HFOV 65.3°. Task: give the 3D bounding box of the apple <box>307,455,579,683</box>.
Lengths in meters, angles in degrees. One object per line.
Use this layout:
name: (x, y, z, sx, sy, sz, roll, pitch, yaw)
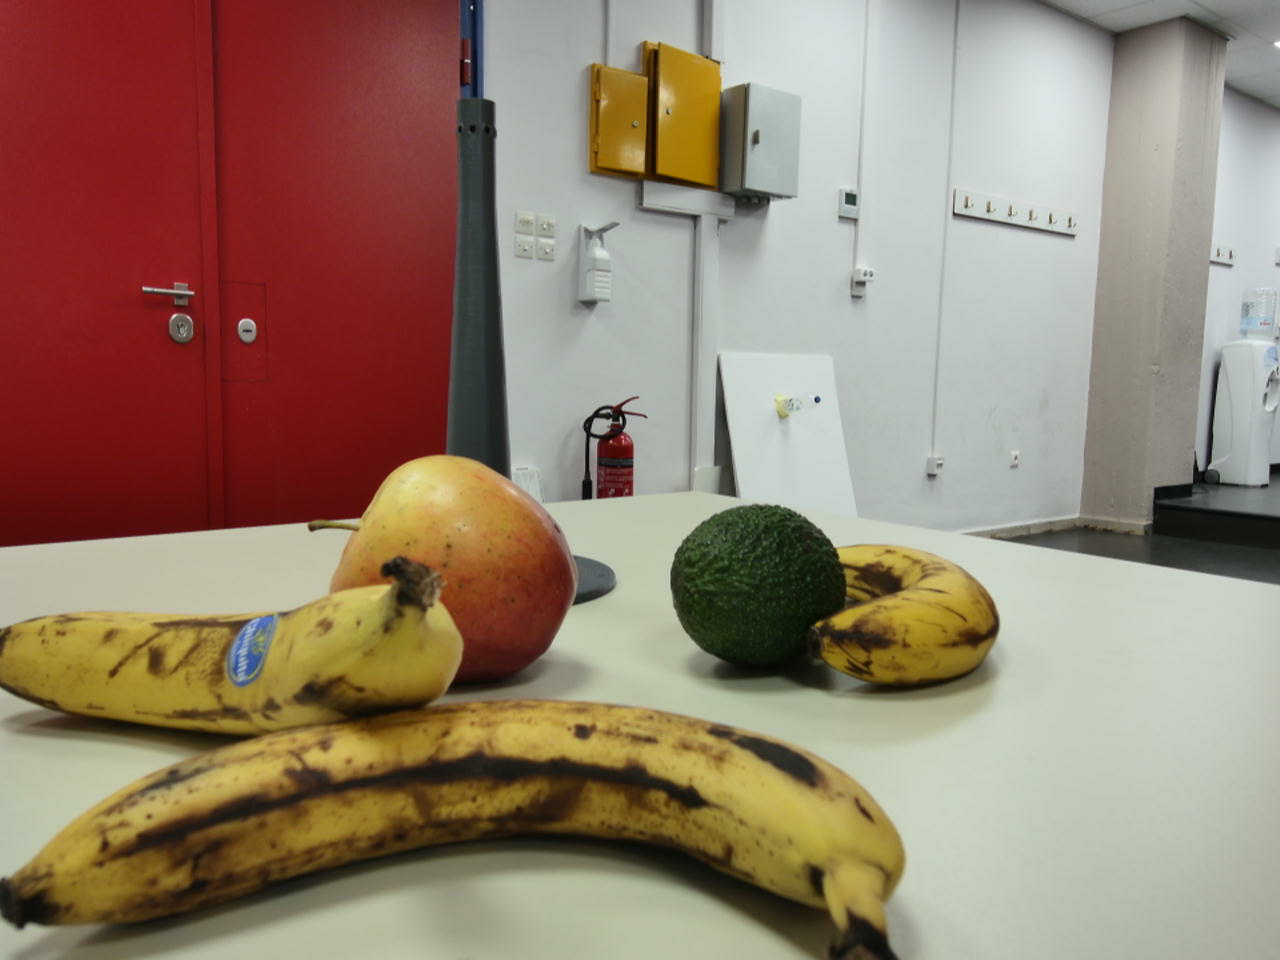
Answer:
apple: (-0.073, 0.034, 0.382, 0.093, 0.084, 0.086, 2, 4, 16)
